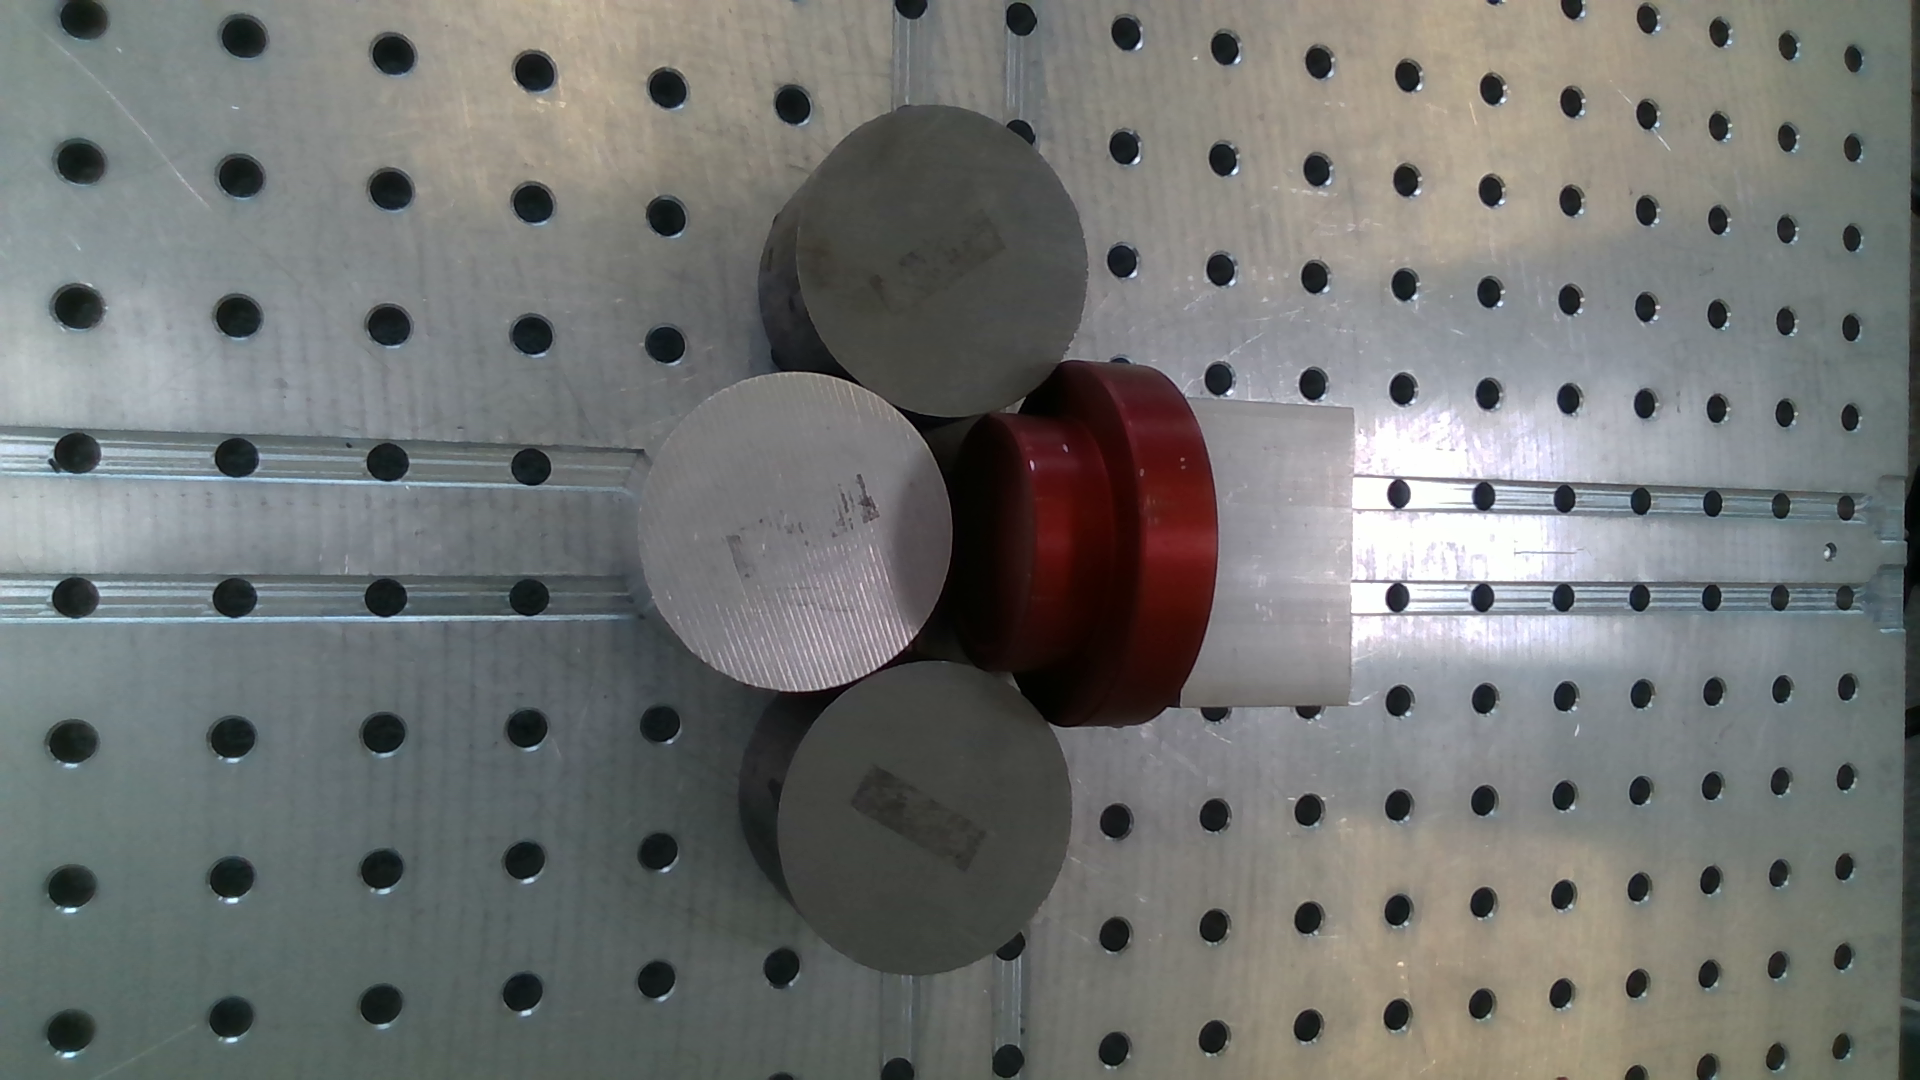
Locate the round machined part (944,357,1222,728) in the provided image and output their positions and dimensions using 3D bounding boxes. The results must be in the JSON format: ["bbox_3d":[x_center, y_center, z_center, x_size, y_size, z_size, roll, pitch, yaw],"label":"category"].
[{"bbox_3d":[0.026,0.001,0.365,0.042,0.098,0.098,2,89,-21],"label":"round machined part"}]

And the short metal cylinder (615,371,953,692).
[{"bbox_3d":[-0.048,-0.002,0.366,0.080,0.050,0.080,0,90,-20],"label":"short metal cylinder"}]

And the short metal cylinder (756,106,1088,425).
[{"bbox_3d":[-0.012,-0.072,0.379,0.080,0.050,0.080,0,90,-20],"label":"short metal cylinder"}]

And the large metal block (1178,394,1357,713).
[{"bbox_3d":[0.067,0.004,0.391,0.050,0.080,0.080,1,90,-20],"label":"large metal block"}]

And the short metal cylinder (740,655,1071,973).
[{"bbox_3d":[-0.016,0.072,0.378,0.080,0.050,0.080,0,90,-20],"label":"short metal cylinder"}]
